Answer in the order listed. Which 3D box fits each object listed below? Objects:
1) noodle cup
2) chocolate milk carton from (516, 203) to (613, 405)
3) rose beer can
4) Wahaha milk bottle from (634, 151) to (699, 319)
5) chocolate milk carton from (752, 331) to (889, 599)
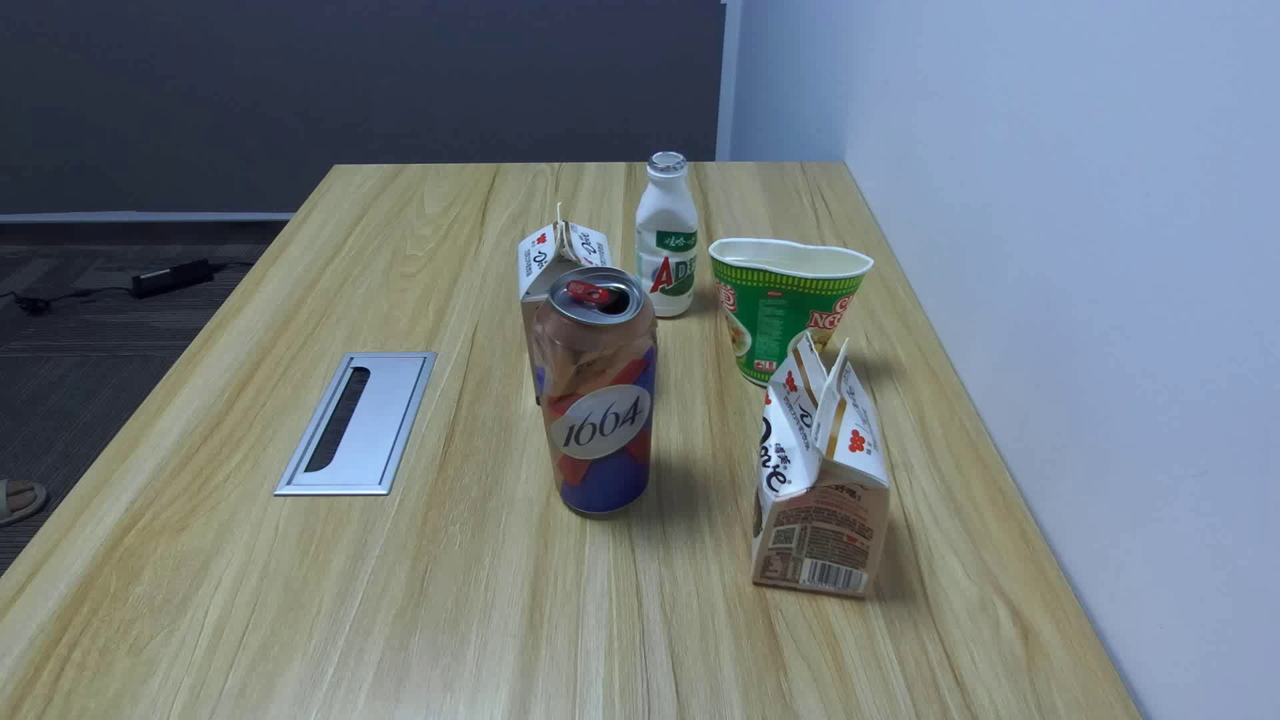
[{"bbox_3d":[0.112,-0.040,0.565,0.114,0.111,0.070,23,47,24],"label":"noodle cup"},{"bbox_3d":[-0.054,-0.049,0.562,0.074,0.148,0.075,-7,42,-6],"label":"chocolate milk carton"},{"bbox_3d":[-0.026,0.026,0.449,0.076,0.167,0.065,-13,42,-18],"label":"rose beer can"},{"bbox_3d":[0.023,-0.108,0.624,0.056,0.148,0.056,1,41,-1],"label":"Wahaha milk bottle"},{"bbox_3d":[0.107,0.061,0.413,0.073,0.156,0.076,4,40,9],"label":"chocolate milk carton"}]
